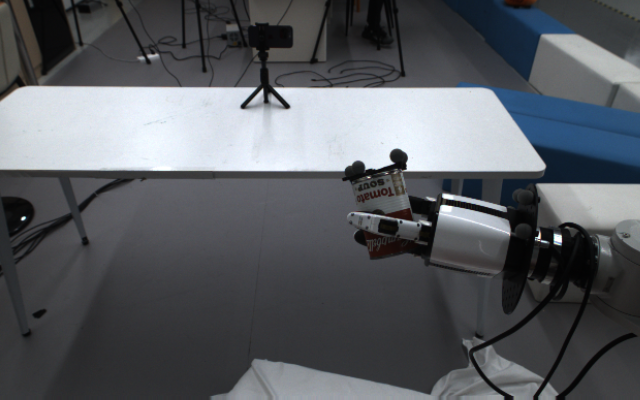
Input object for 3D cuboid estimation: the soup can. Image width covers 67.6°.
[{"bbox_3d":[0.085,0.018,0.616,0.067,0.101,0.067,-14,-2,-1],"label":"soup can"}]
